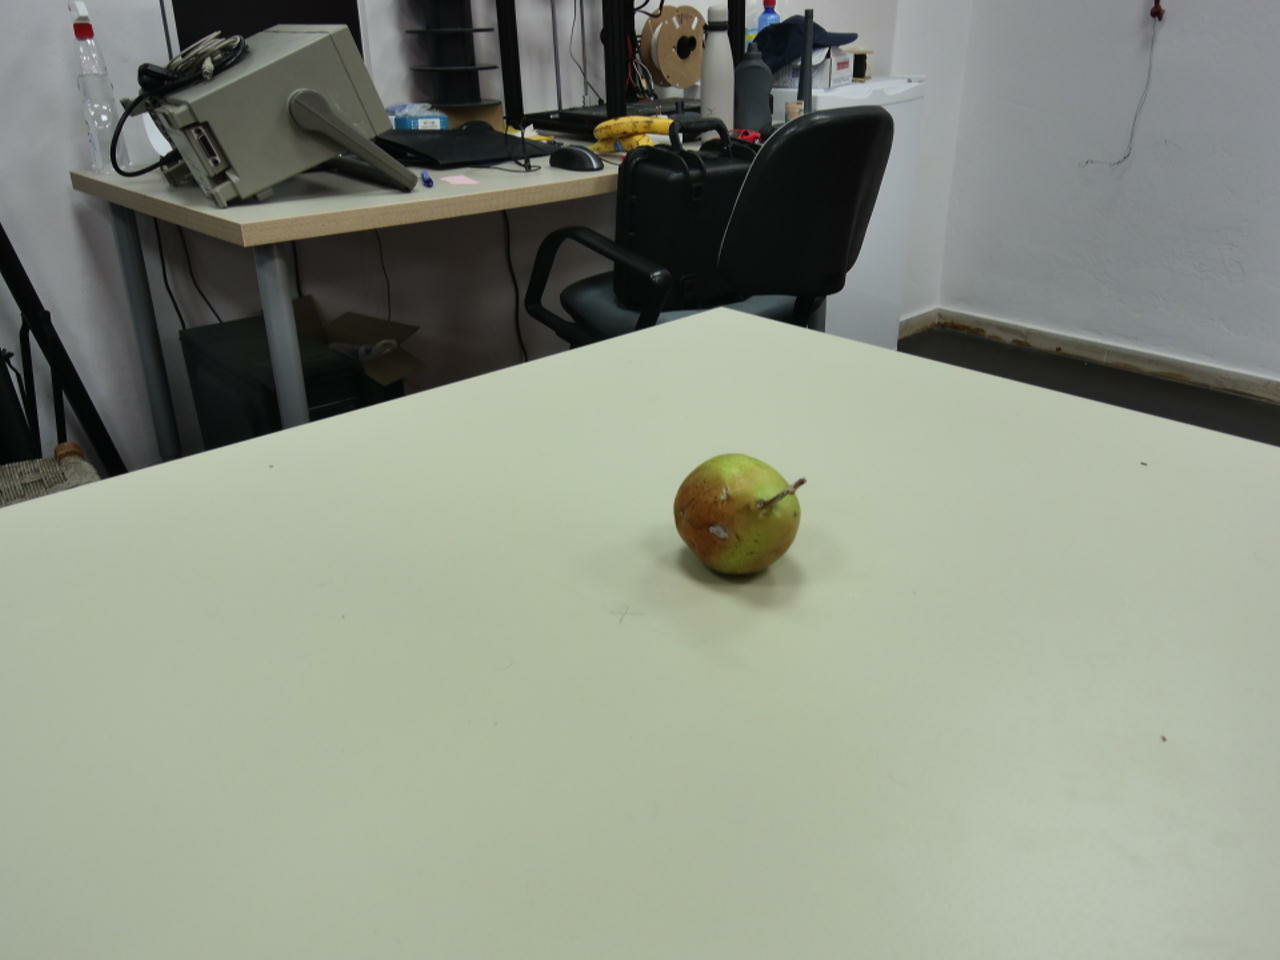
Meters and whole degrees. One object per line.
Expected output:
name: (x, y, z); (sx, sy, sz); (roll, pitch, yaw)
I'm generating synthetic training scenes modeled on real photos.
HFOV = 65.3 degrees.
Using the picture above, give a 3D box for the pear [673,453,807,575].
pear: (0.051, 0.016, 0.530); (0.068, 0.069, 0.070); (5, 24, 9)
